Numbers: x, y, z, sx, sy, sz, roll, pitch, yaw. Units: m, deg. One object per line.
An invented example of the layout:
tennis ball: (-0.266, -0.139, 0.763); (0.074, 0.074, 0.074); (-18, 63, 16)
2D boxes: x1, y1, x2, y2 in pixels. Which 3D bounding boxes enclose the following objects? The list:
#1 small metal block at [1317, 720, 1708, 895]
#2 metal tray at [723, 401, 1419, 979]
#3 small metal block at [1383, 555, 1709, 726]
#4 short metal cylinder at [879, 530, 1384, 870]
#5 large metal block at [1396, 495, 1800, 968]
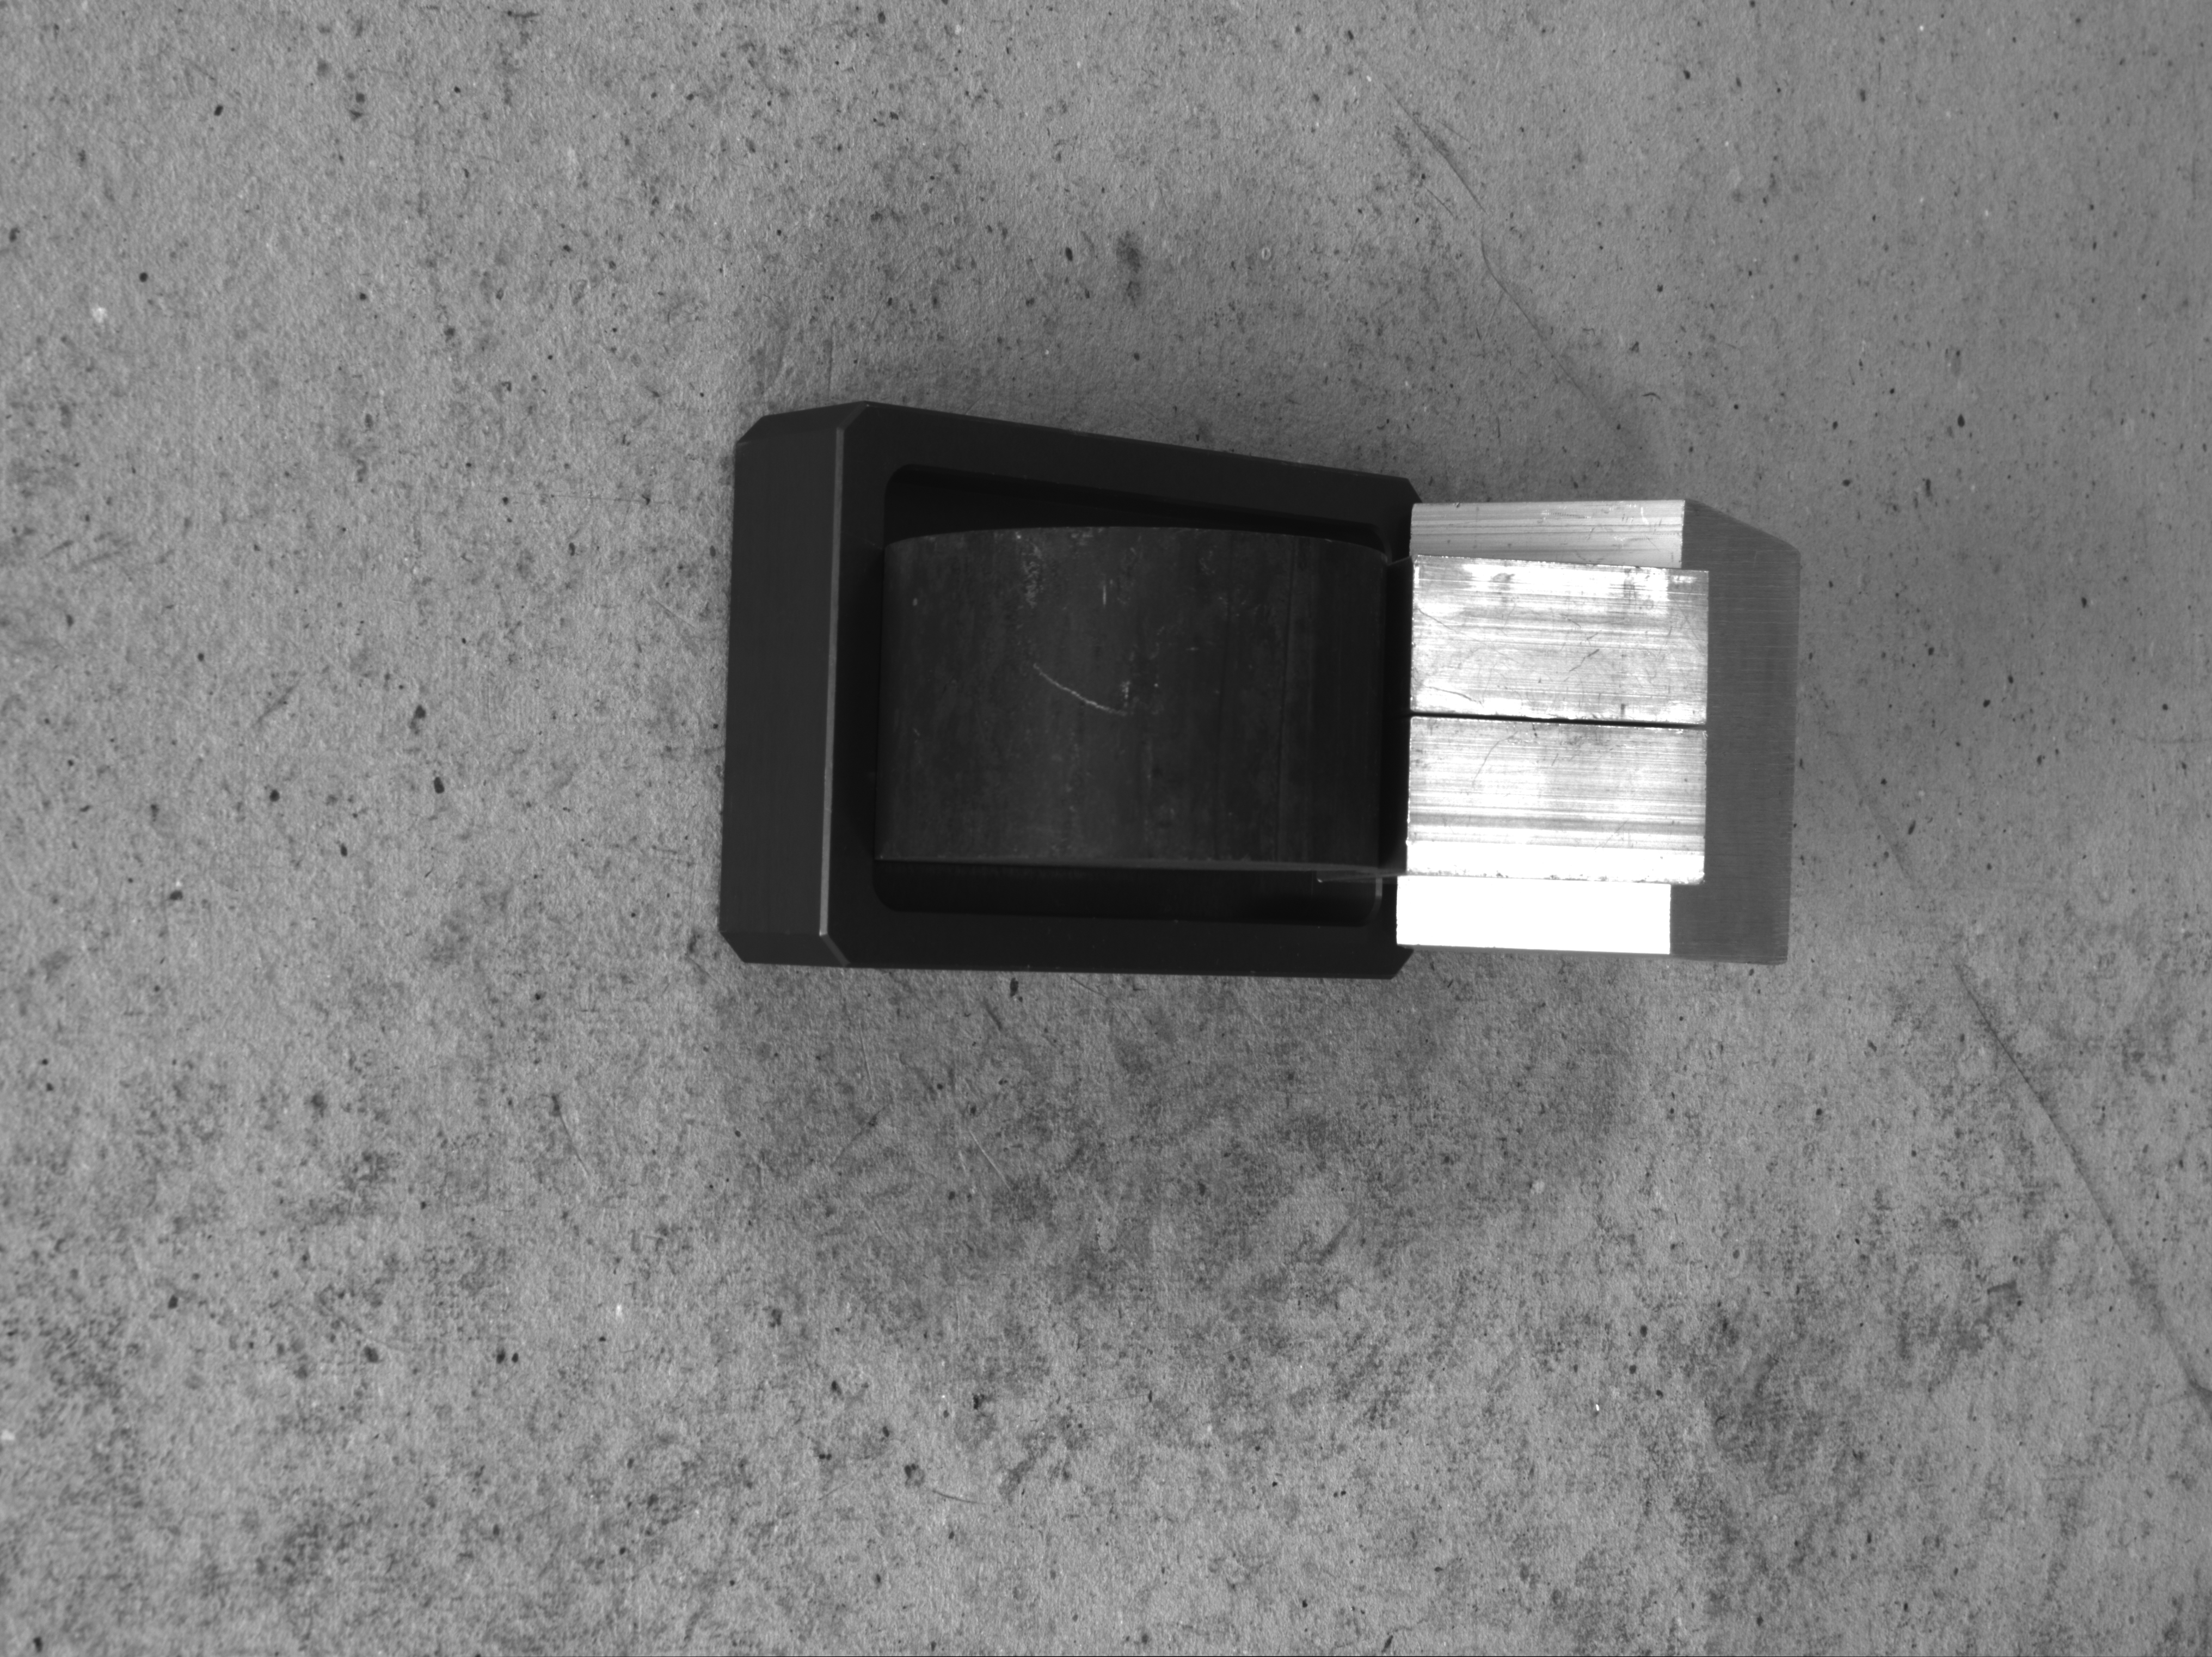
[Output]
small metal block: (0.066, -0.003, 0.607); (0.050, 0.050, 0.025); (2, 87, -14)
metal tray: (-0.002, -0.020, 0.631); (0.130, 0.030, 0.090); (3, 88, -40)
small metal block: (0.067, -0.029, 0.608); (0.050, 0.050, 0.025); (2, 87, -14)
short metal cylinder: (0.004, -0.019, 0.588); (0.080, 0.080, 0.050); (1, 89, -40)
large metal block: (0.092, -0.016, 0.678); (0.080, 0.050, 0.080); (7, 85, -65)
